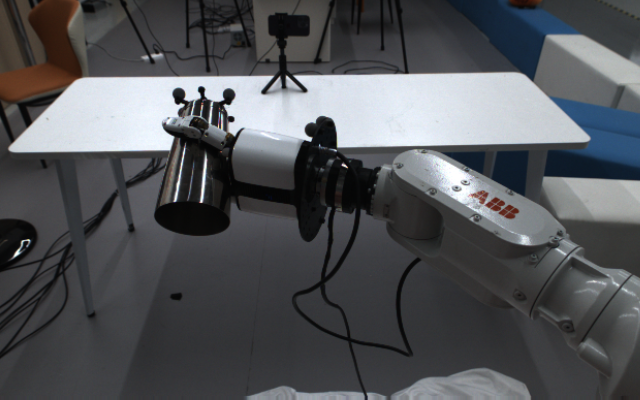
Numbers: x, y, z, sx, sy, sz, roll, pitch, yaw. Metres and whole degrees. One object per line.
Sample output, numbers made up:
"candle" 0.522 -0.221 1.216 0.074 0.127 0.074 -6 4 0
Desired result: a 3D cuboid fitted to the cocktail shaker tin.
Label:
"cocktail shaker tin" -0.162 -0.049 0.638 0.093 0.093 0.170 0 59 -3
